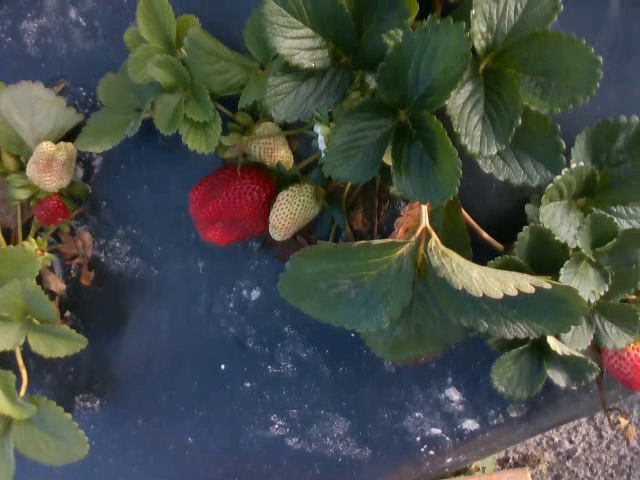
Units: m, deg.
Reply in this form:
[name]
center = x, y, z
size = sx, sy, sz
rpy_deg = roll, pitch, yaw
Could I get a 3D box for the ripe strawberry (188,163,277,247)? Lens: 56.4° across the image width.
[ripe strawberry]
center = -0.063, -0.023, 0.406
size = 0.070, 0.058, 0.057
rpy_deg = -18, 41, -24
